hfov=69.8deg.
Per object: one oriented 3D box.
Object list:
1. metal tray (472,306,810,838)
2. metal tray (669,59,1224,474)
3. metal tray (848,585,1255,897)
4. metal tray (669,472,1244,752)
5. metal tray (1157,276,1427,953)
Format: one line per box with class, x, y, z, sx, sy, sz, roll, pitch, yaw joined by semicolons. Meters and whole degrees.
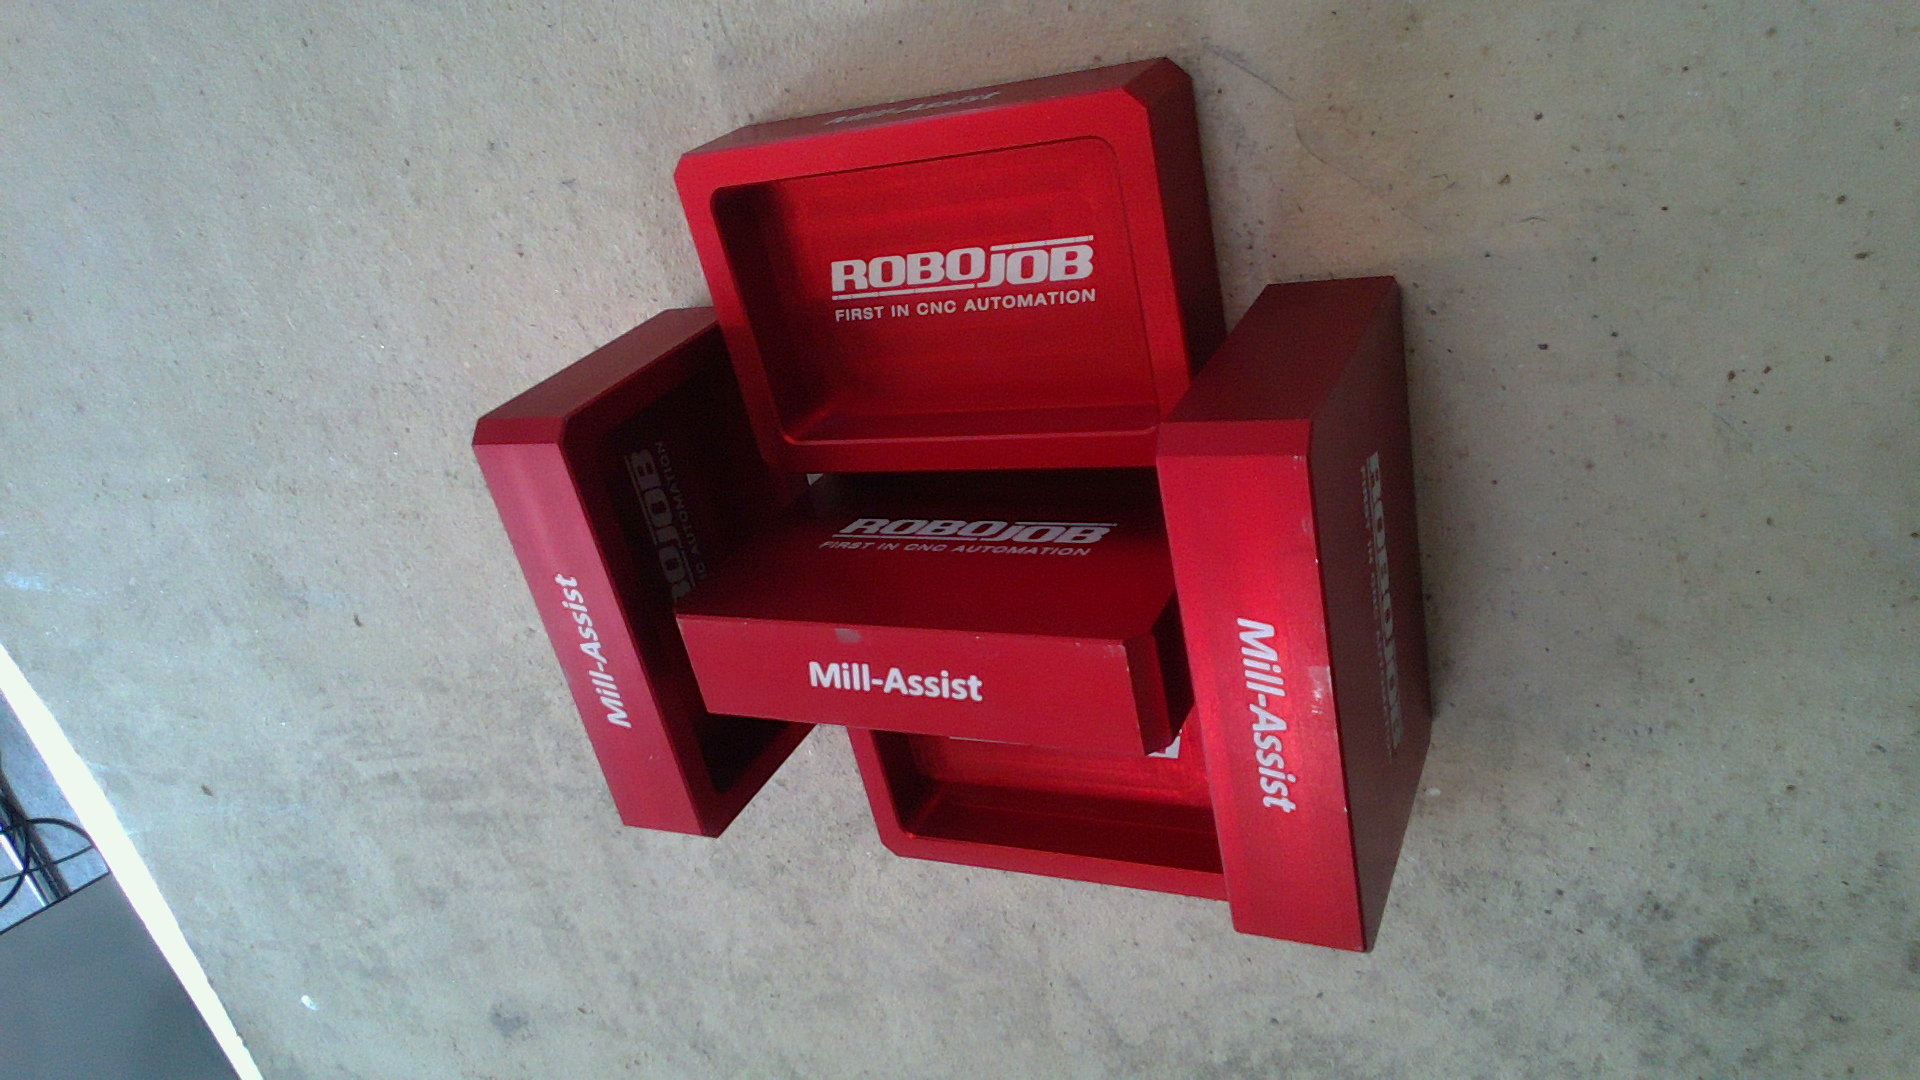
metal tray;-0.078;0.008;0.398;0.030;0.090;0.130;1;119;28
metal tray;-0.002;-0.064;0.352;0.130;0.030;0.090;0;122;28
metal tray;0.029;0.056;0.411;0.130;0.030;0.090;1;118;28
metal tray;0.003;0.011;0.358;0.130;0.090;0.030;1;120;28
metal tray;0.082;0.016;0.317;0.030;0.090;0.130;1;119;28
